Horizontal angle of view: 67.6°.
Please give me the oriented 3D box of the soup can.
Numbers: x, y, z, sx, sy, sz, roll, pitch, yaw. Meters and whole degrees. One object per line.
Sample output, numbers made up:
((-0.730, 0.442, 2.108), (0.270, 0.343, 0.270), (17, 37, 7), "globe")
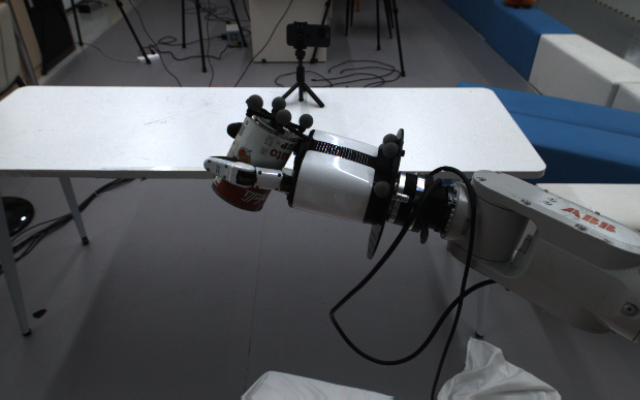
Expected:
((-0.075, -0.046, 0.572), (0.067, 0.101, 0.067), (28, 18, -10), "soup can")
